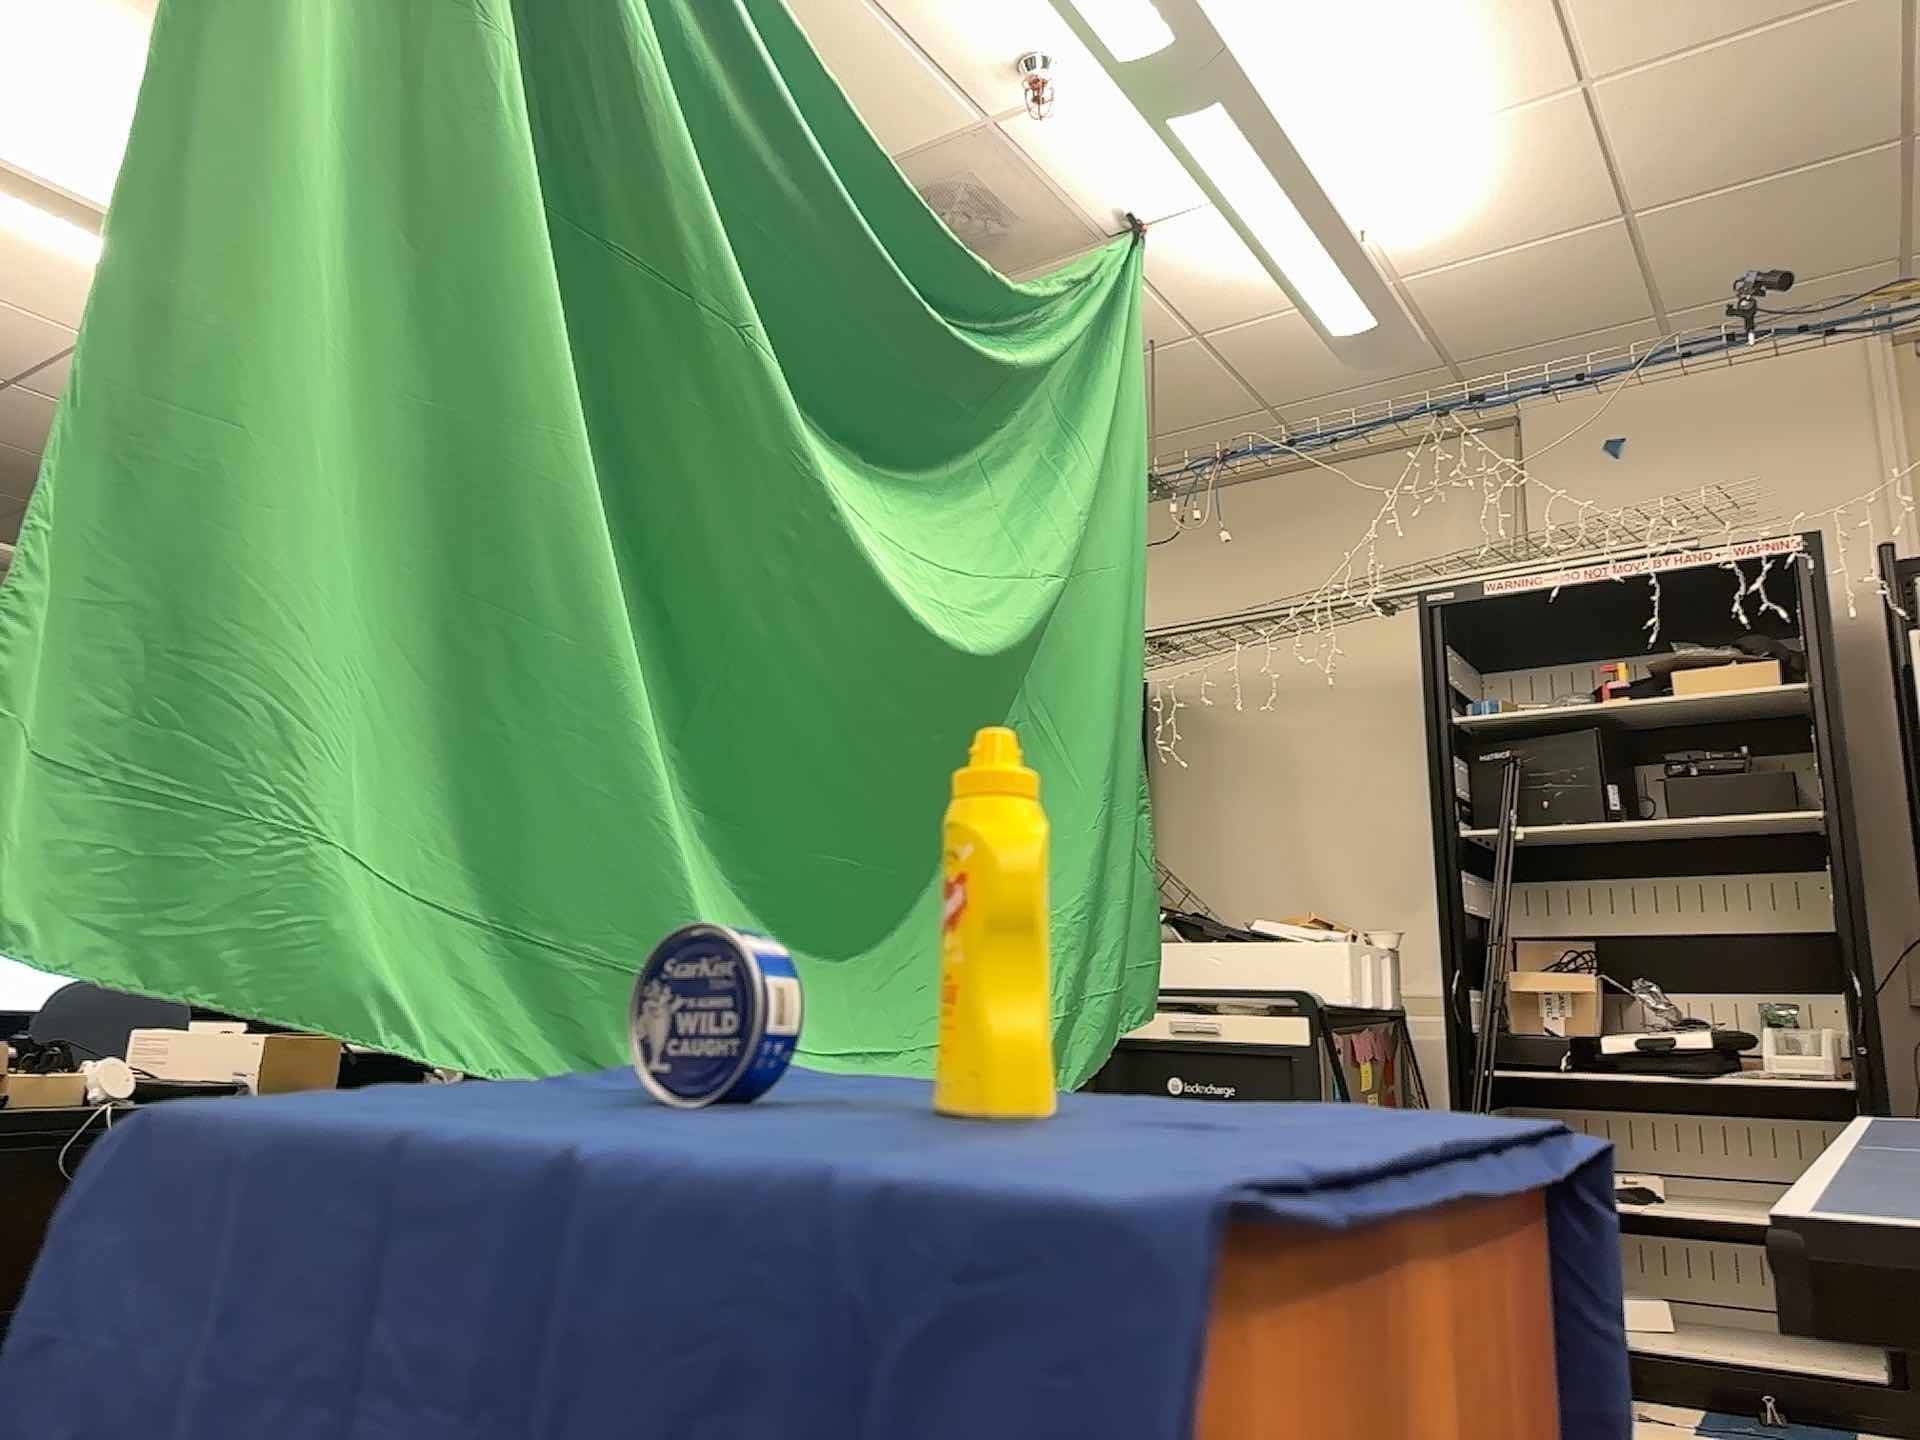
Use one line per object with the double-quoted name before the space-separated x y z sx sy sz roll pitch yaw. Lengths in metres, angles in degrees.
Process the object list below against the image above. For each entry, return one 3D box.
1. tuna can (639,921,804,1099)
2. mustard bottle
"tuna can" -0.117 0.142 0.660 0.083 0.083 0.034 -8 -16 37
"mustard bottle" 0.017 0.090 0.632 0.054 0.184 0.092 3 -12 -5
